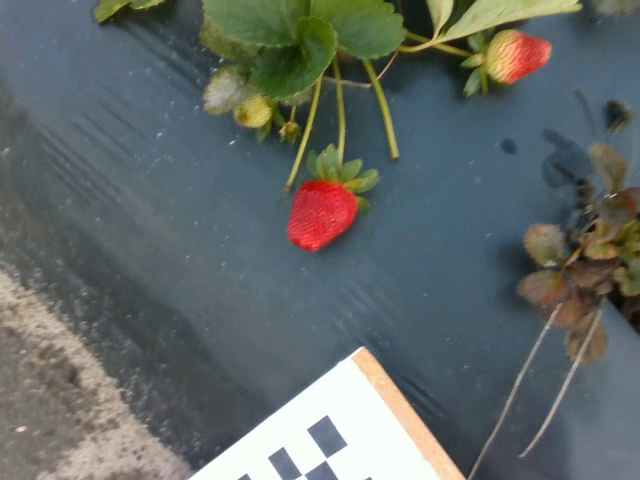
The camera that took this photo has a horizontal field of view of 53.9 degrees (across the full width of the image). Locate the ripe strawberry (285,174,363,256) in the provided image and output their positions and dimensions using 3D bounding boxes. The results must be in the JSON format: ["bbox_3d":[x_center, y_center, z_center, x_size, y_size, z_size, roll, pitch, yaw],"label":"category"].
[{"bbox_3d":[-0.002,-0.015,0.385,0.045,0.042,0.055,5,41,34],"label":"ripe strawberry"}]
